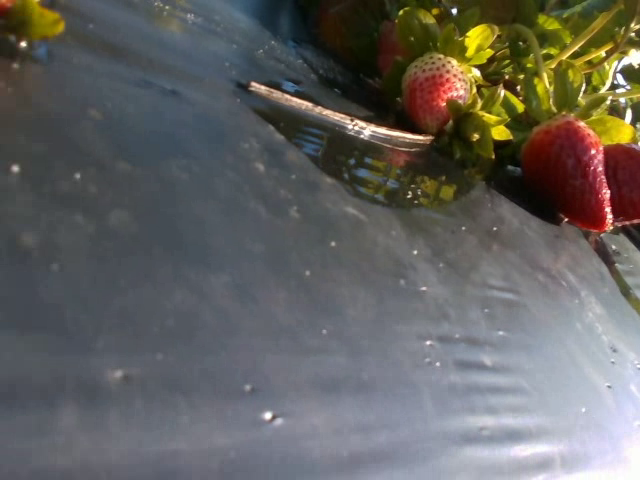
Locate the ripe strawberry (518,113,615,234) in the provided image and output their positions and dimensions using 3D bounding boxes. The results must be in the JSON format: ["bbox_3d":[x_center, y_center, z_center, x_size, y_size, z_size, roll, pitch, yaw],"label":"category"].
[{"bbox_3d":[0.086,-0.023,0.211,0.031,0.046,0.023,9,-35,-41],"label":"ripe strawberry"}]

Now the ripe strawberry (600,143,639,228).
[{"bbox_3d":[0.112,-0.022,0.225,0.030,0.037,0.039,21,-2,-37],"label":"ripe strawberry"}]
